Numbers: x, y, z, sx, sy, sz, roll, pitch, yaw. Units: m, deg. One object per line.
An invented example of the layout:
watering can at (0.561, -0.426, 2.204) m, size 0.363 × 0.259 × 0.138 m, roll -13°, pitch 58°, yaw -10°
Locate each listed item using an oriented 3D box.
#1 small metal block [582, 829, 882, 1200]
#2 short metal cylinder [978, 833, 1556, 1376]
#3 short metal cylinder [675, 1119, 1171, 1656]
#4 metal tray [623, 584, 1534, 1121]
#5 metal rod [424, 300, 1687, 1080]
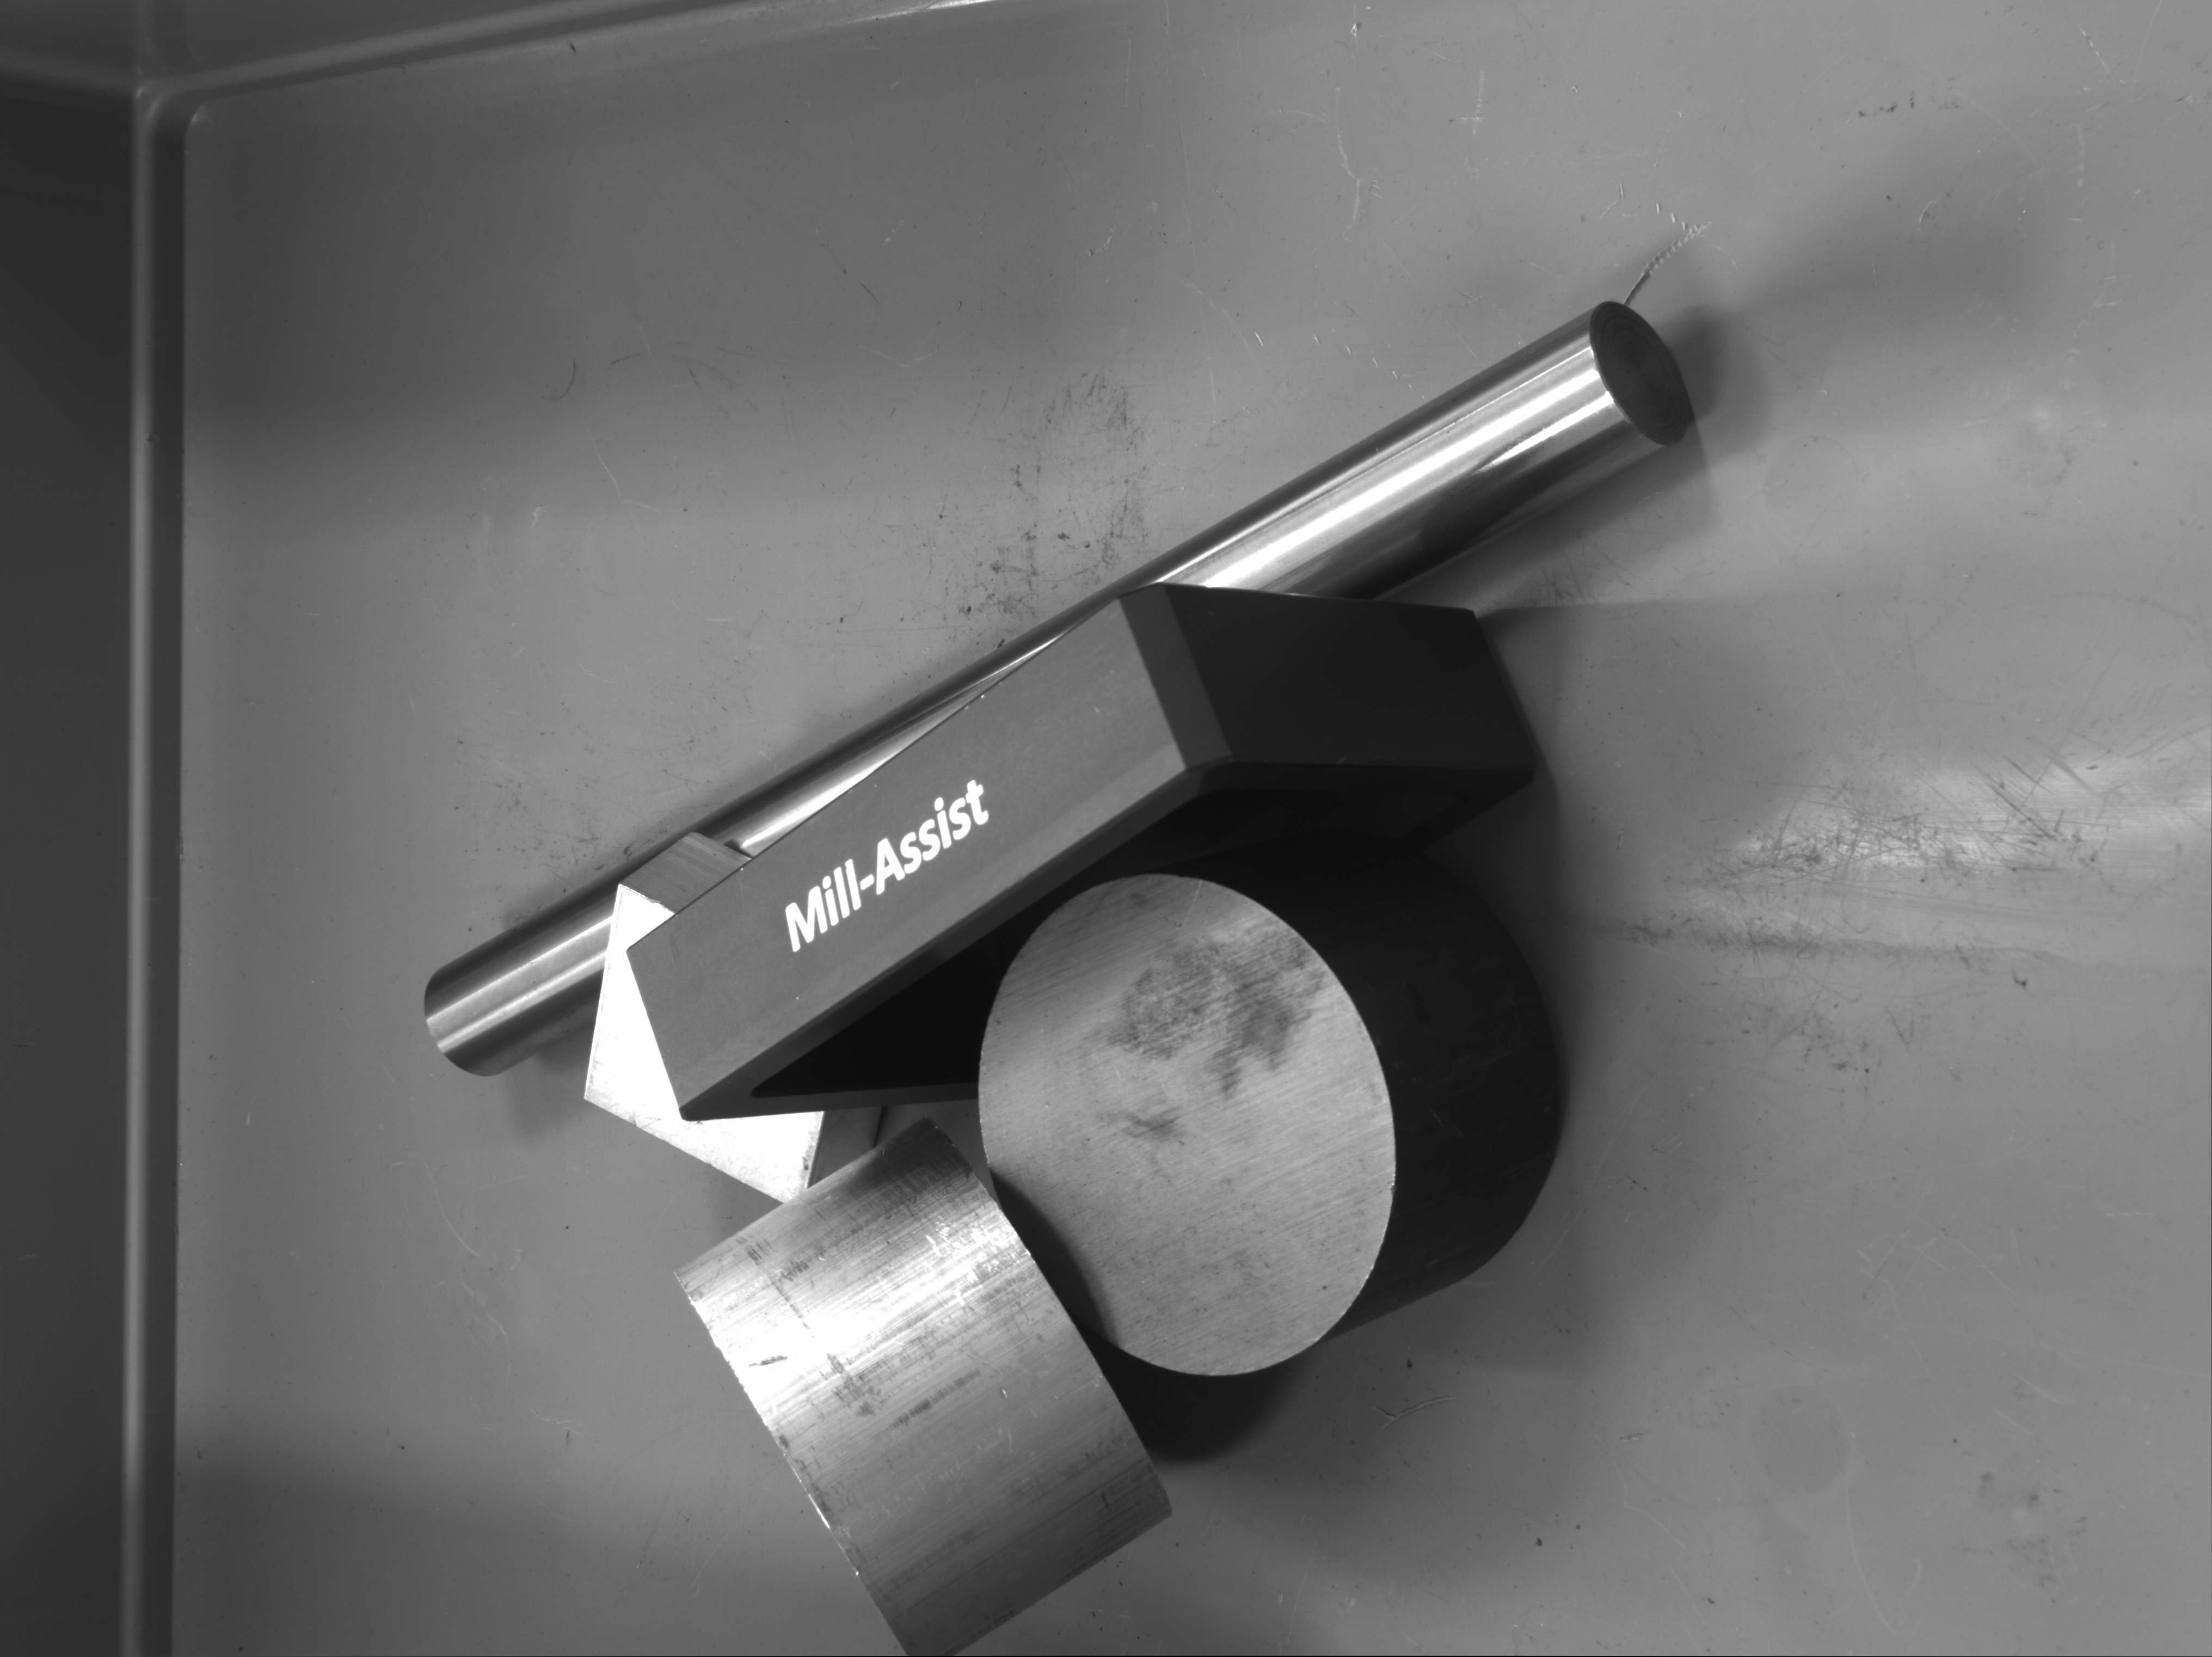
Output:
small metal block at (-0.066, 0.036, 0.683) m, size 0.050 × 0.025 × 0.050 m, roll 26°, pitch 123°, yaw 18°
short metal cylinder at (0.026, 0.044, 0.599) m, size 0.080 × 0.050 × 0.080 m, roll 7°, pitch 102°, yaw 35°
short metal cylinder at (-0.032, 0.097, 0.625) m, size 0.050 × 0.080 × 0.080 m, roll -31°, pitch 64°, yaw -9°
metal tray at (-0.005, 0.006, 0.606) m, size 0.130 × 0.090 × 0.030 m, roll -34°, pitch 69°, yaw 35°
metal rod at (-0.023, -0.016, 0.663) m, size 0.299 × 0.025 × 0.025 m, roll -28°, pitch 73°, yaw 37°
